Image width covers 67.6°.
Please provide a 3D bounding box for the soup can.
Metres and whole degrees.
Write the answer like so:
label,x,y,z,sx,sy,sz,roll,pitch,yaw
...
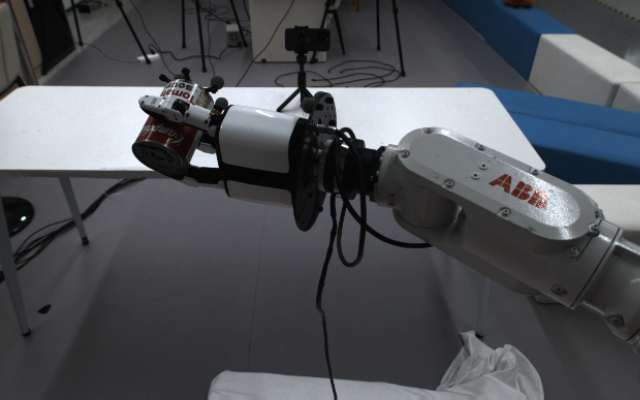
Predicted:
label,x,y,z,sx,sy,sz,roll,pitch,yaw
soup can,-0.179,-0.090,0.602,0.067,0.067,0.101,9,60,10
